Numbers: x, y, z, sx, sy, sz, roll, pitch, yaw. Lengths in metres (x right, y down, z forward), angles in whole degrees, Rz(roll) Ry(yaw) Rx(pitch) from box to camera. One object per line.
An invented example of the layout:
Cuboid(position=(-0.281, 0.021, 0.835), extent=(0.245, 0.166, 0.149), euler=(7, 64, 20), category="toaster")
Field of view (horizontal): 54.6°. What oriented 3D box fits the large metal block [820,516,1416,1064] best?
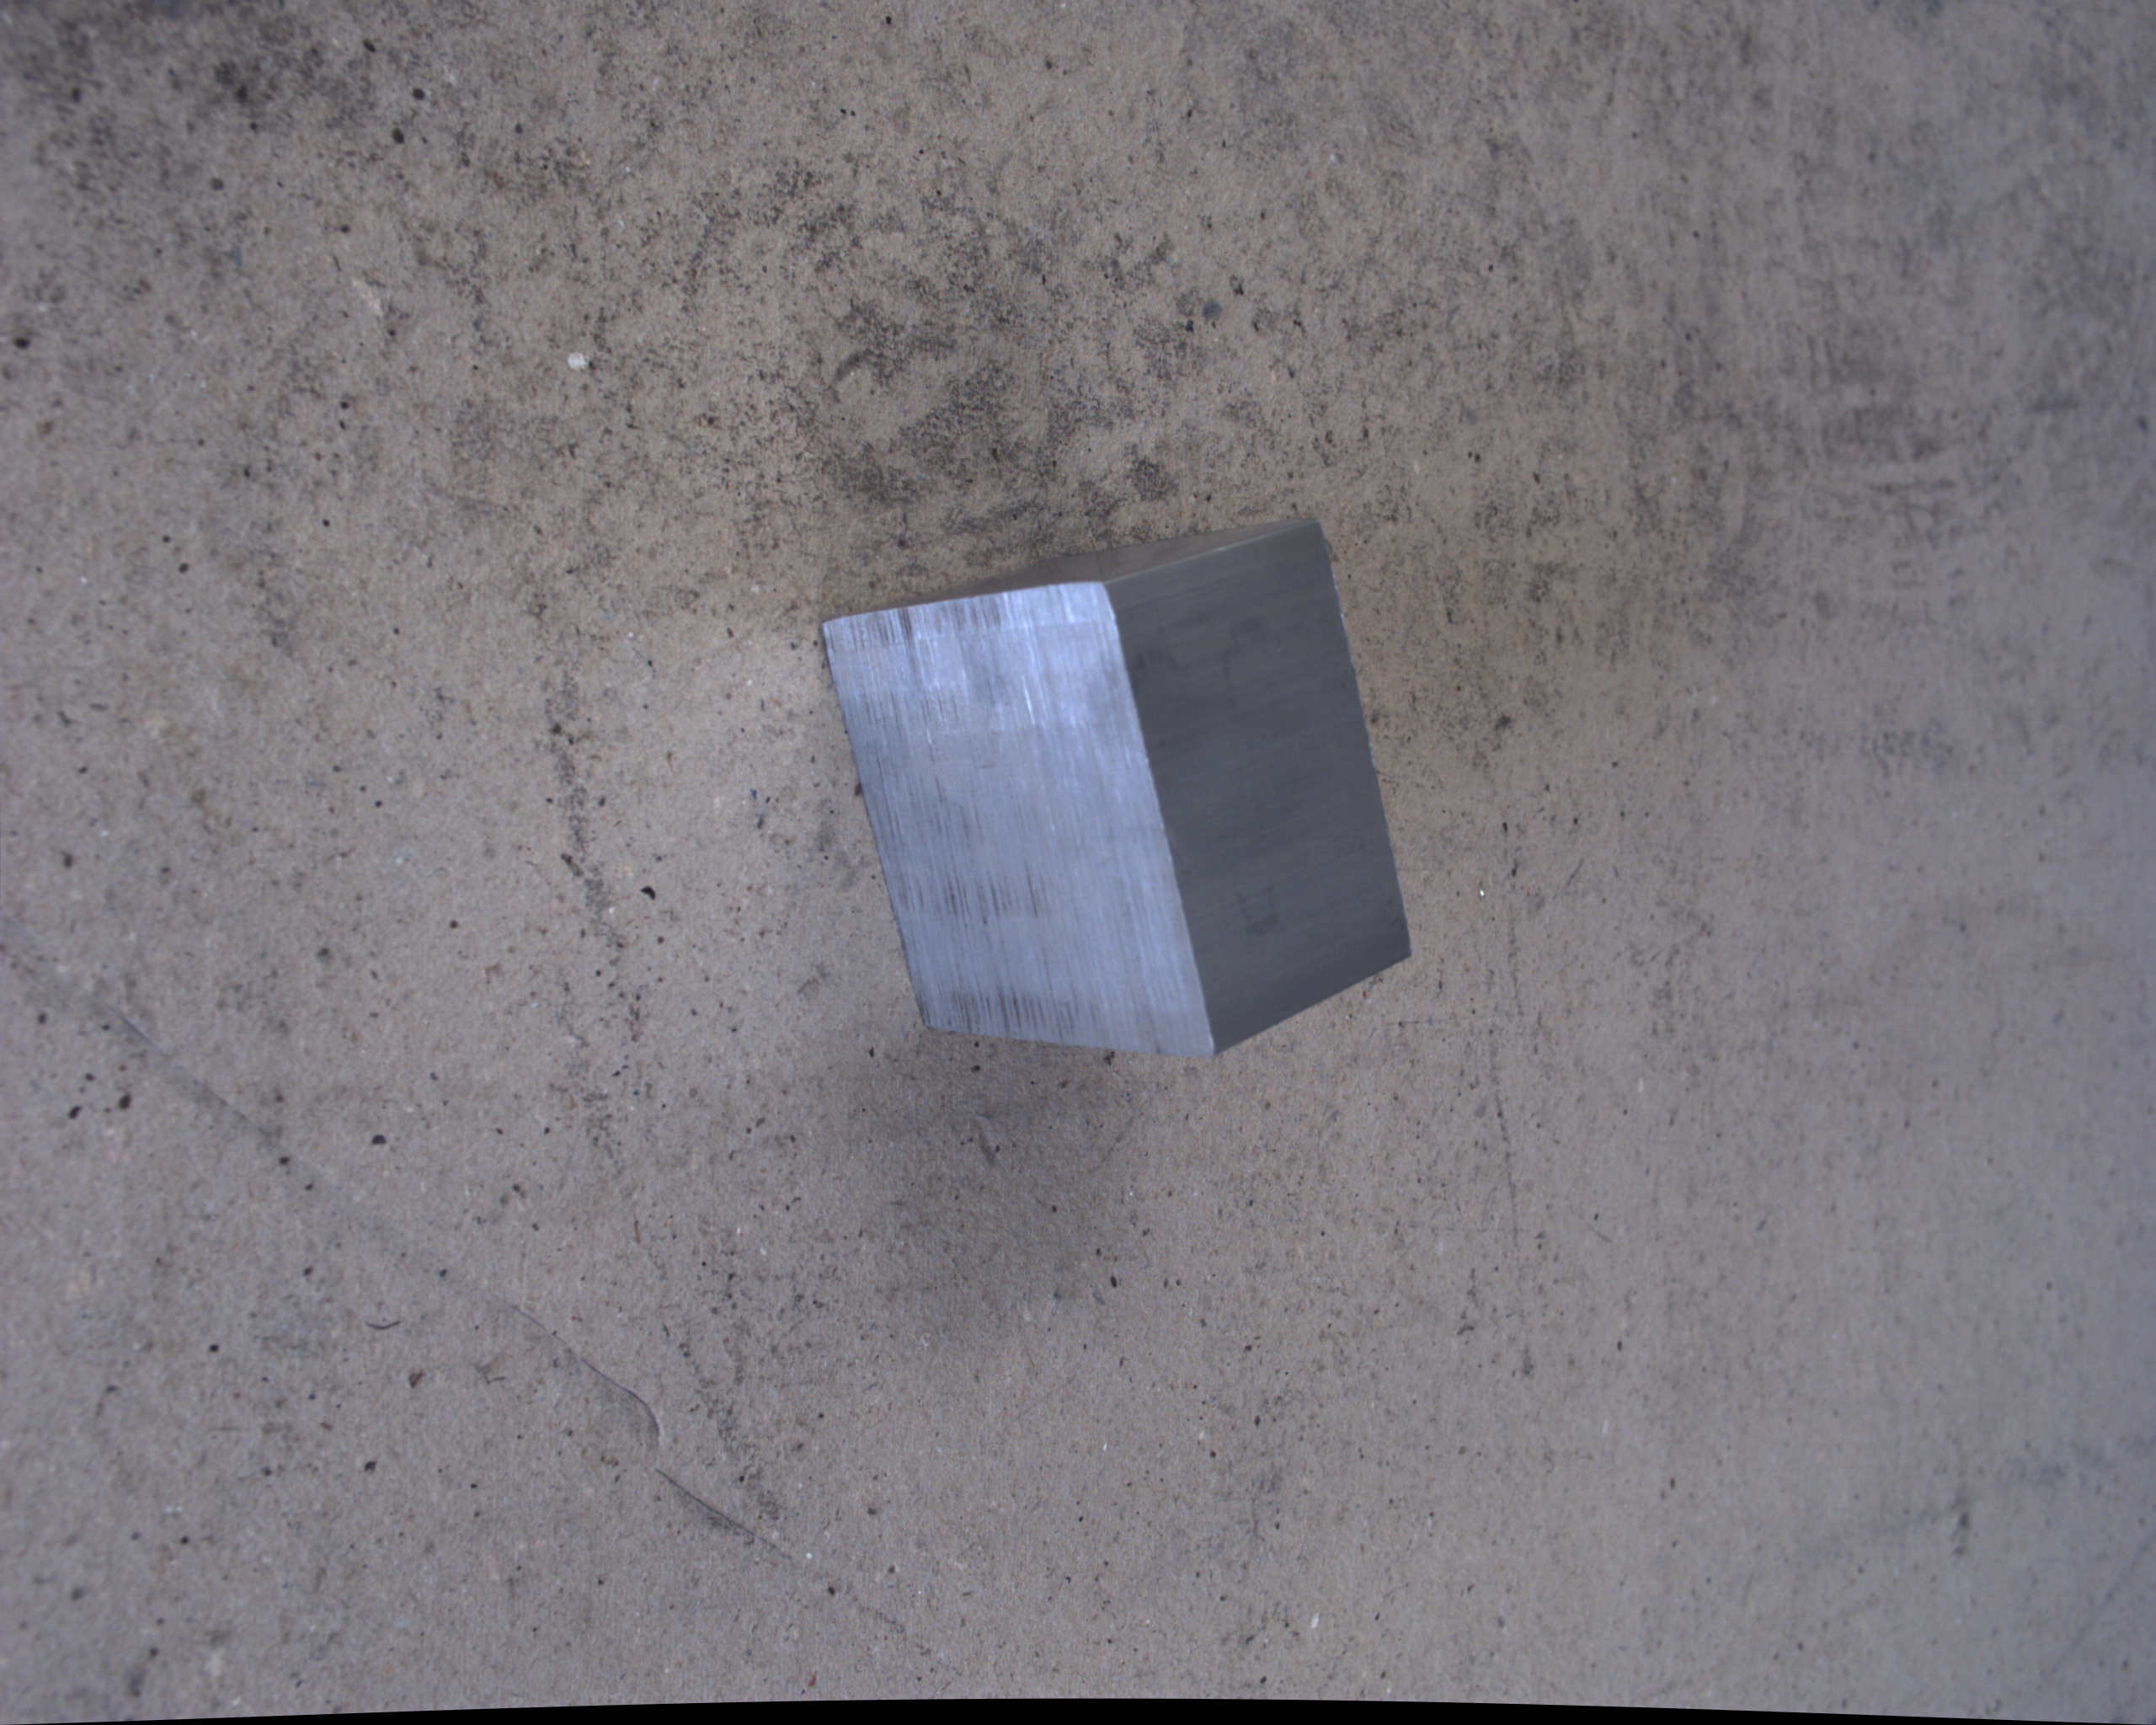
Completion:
Cuboid(position=(0.006, -0.013, 0.374), extent=(0.050, 0.080, 0.080), euler=(-22, 104, -38), category="large metal block")
